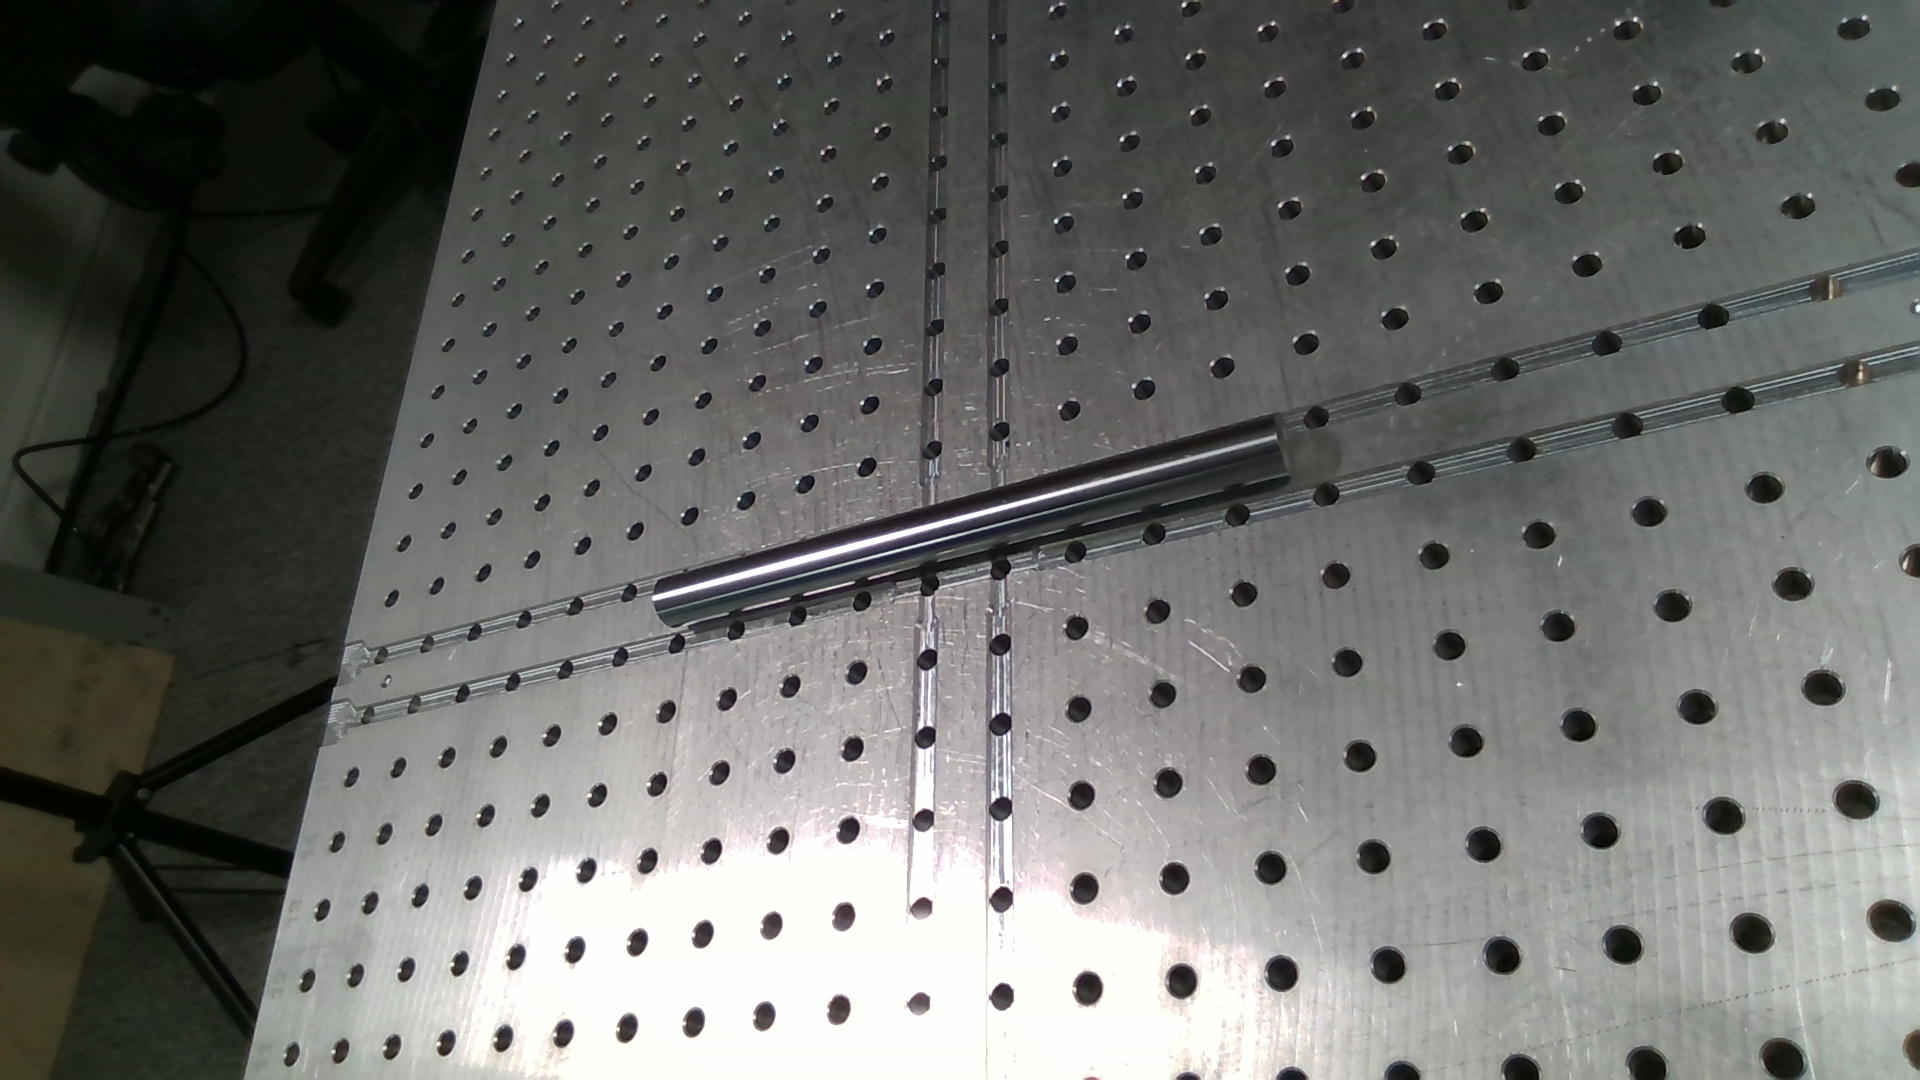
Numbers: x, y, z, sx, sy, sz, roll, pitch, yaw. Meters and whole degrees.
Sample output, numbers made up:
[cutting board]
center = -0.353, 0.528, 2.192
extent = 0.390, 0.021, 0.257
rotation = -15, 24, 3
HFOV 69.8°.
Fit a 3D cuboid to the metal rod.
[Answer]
[metal rod]
center = -0.007, -0.004, 0.594
extent = 0.300, 0.025, 0.025
rotation = -14, 59, 25
